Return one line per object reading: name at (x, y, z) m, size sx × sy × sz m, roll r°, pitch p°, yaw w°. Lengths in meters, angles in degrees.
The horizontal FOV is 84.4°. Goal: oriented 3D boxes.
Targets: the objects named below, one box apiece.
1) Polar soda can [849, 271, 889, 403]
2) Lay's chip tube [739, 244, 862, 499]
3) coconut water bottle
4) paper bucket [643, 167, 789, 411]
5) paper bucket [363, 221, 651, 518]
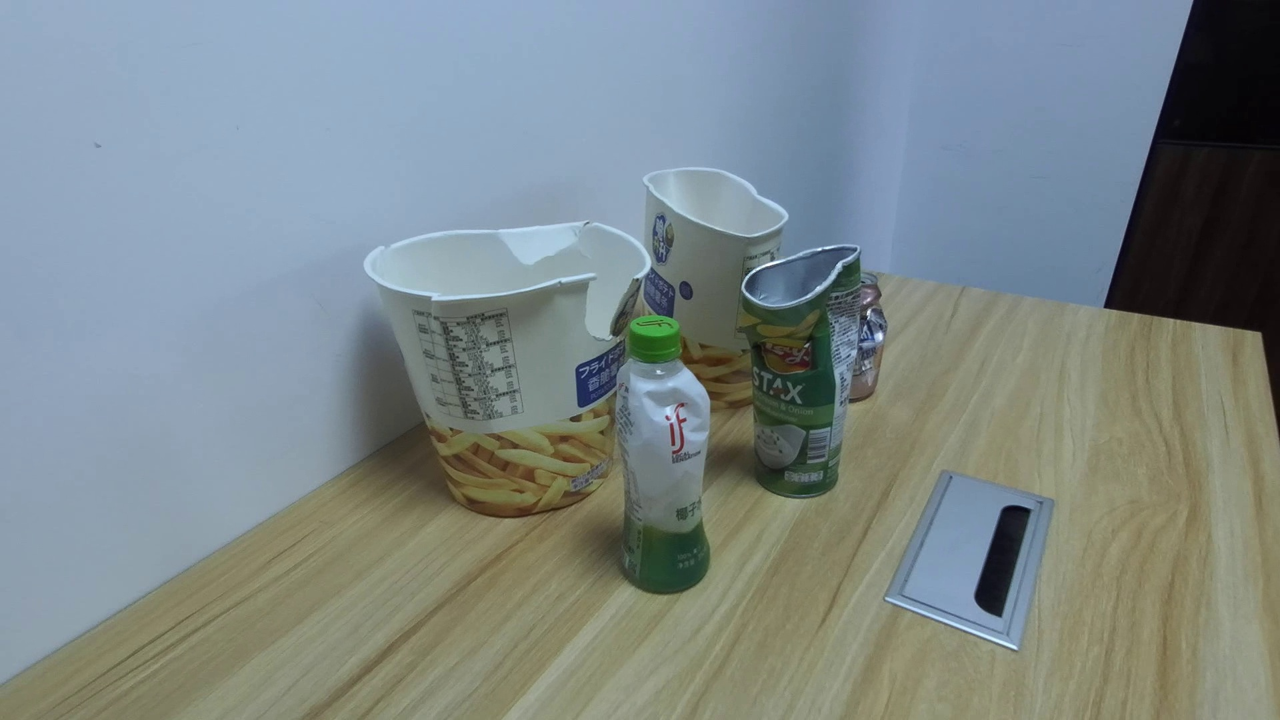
Polar soda can at (0.199, -0.026, 0.682) m, size 0.071 × 0.122 × 0.066 m, roll -13°, pitch 21°, yaw -27°
Lay's chip tube at (0.119, 0.015, 0.530) m, size 0.079 × 0.200 × 0.071 m, roll 6°, pitch 38°, yaw 21°
coconut water bottle at (0.014, 0.061, 0.459) m, size 0.067 × 0.187 × 0.067 m, roll -2°, pitch 27°, yaw 2°
paper bucket at (0.067, -0.071, 0.686) m, size 0.148 × 0.199 × 0.217 m, roll -24°, pitch 34°, yaw -34°
paper bucket at (-0.096, 0.004, 0.570) m, size 0.203 × 0.197 × 0.145 m, roll -9°, pitch 30°, yaw -8°
